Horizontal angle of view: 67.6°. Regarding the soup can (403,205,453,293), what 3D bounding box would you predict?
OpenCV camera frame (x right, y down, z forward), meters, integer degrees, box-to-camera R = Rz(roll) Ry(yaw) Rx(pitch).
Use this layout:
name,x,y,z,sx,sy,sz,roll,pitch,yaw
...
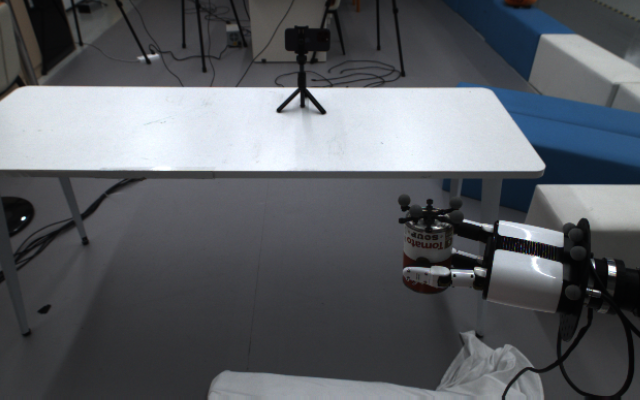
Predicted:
name,x,y,z,sx,sy,sz,roll,pitch,yaw
soup can,0.152,0.068,0.674,0.067,0.101,0.067,-3,27,2
